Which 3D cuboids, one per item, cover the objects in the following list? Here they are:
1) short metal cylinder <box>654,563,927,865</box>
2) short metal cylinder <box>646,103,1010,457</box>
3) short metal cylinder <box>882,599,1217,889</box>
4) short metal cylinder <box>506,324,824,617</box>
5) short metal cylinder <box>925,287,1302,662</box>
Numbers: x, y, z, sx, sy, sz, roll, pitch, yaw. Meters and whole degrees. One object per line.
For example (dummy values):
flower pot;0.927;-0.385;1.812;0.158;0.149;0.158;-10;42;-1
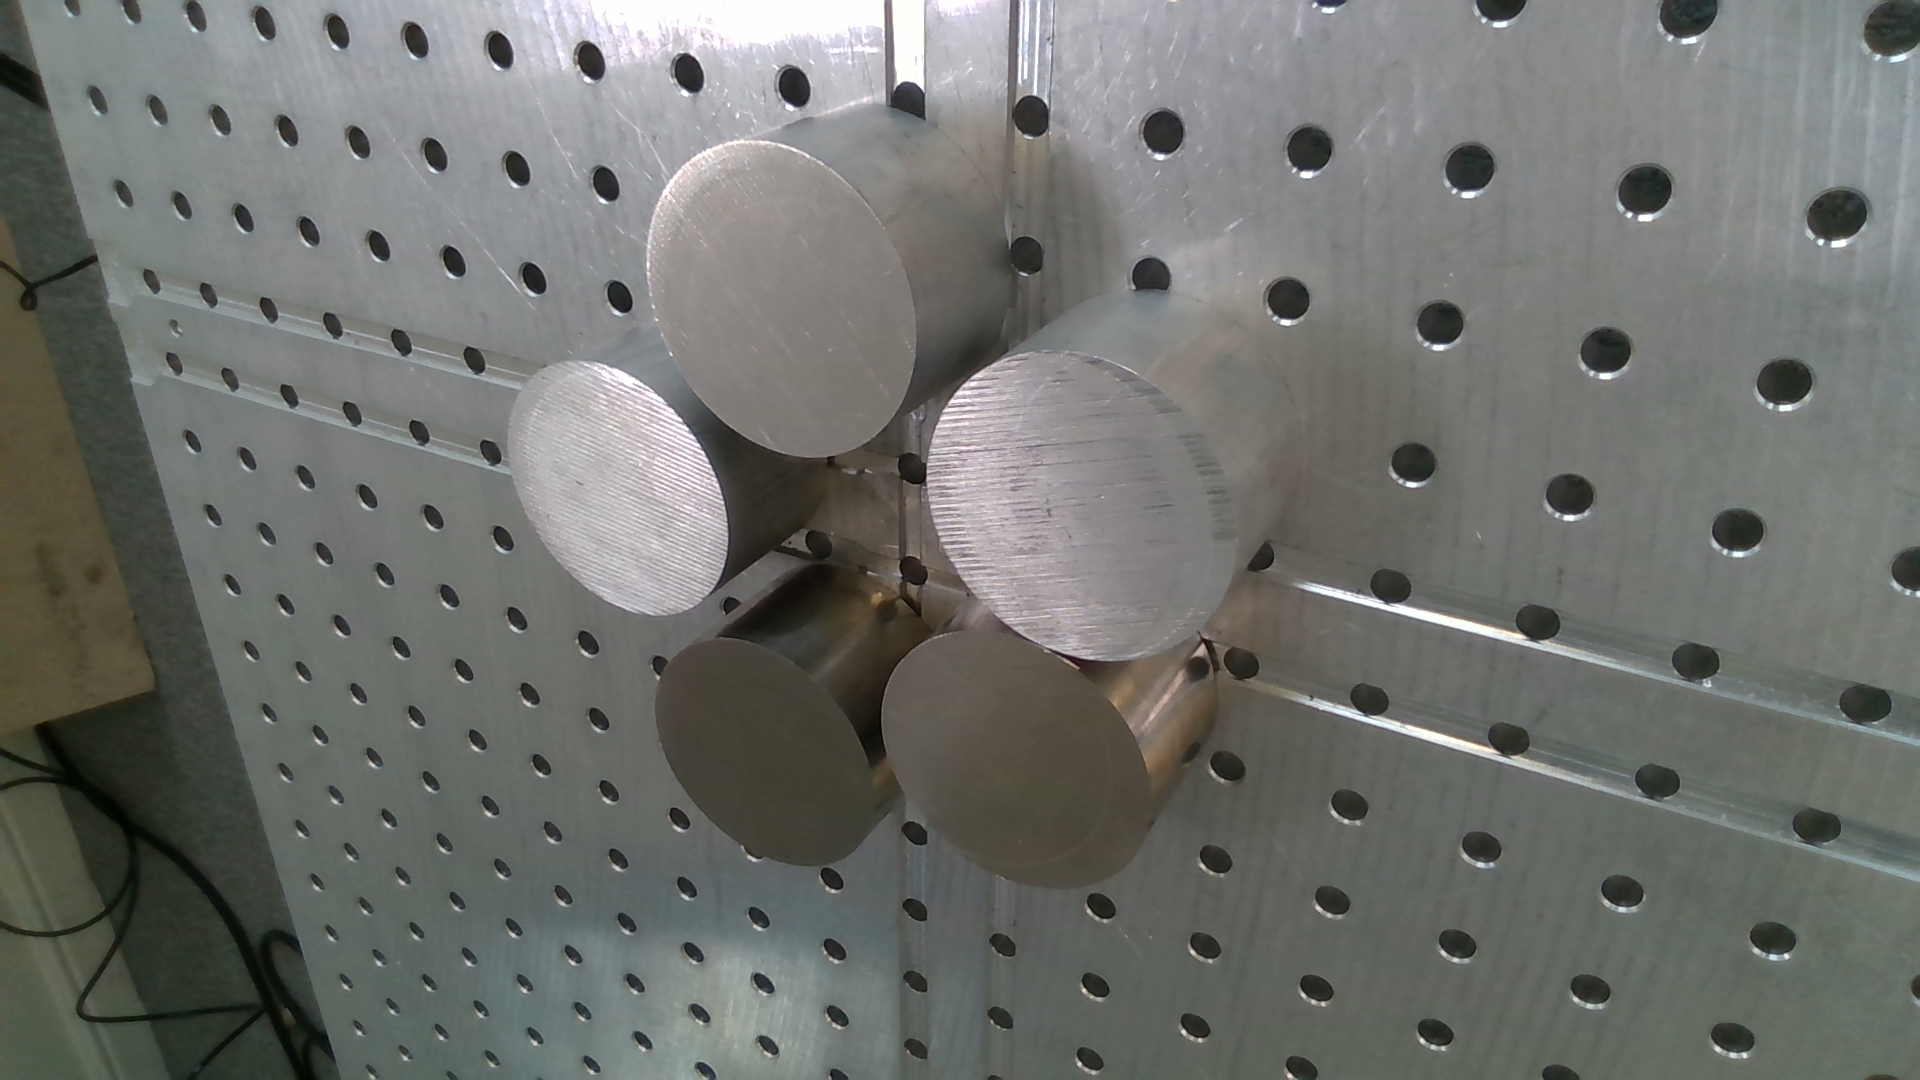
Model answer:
short metal cylinder;-0.049;0.054;0.434;0.080;0.050;0.080;15;122;26
short metal cylinder;-0.034;-0.068;0.359;0.080;0.050;0.080;15;122;25
short metal cylinder;0.025;0.049;0.386;0.080;0.050;0.080;15;122;25
short metal cylinder;-0.088;-0.024;0.415;0.080;0.050;0.080;14;121;24
short metal cylinder;0.038;-0.017;0.342;0.080;0.050;0.080;15;122;25
